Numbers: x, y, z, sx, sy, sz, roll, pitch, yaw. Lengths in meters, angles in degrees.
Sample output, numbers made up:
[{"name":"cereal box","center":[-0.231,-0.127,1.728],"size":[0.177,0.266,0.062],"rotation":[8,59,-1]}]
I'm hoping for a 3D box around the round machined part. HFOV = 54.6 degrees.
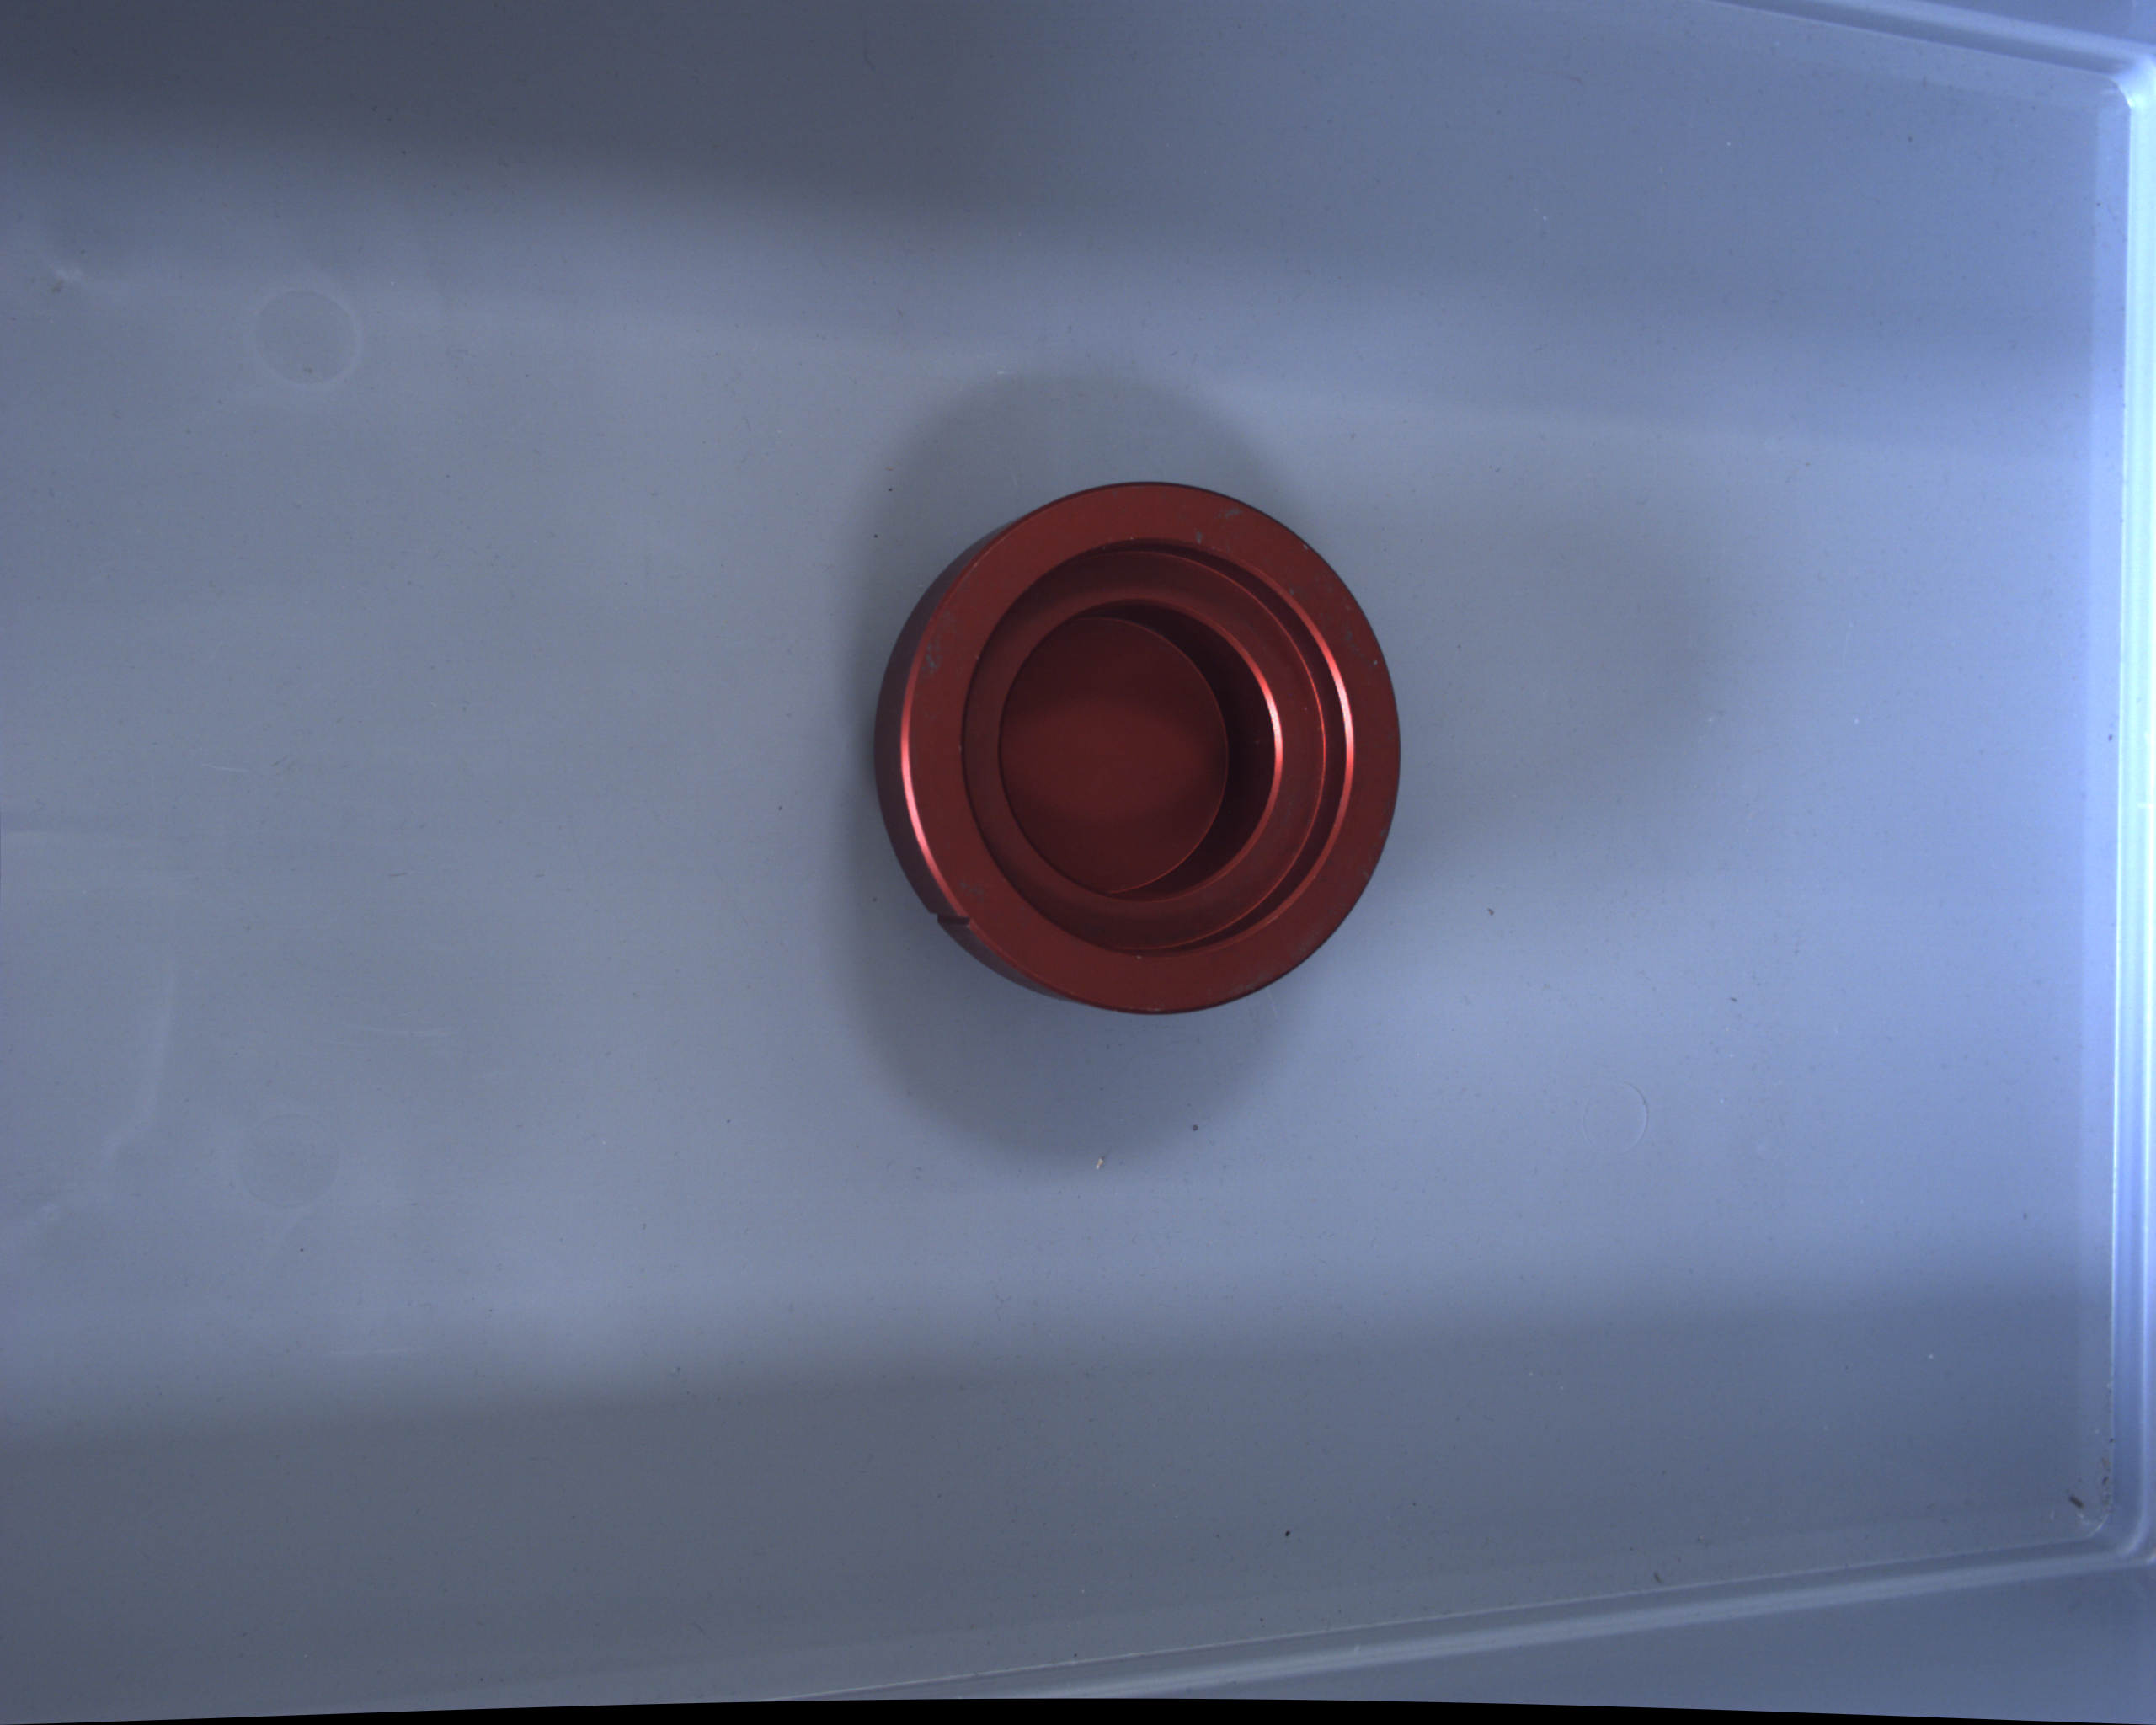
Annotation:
[{"name":"round machined part","center":[0.008,-0.021,0.401],"size":[0.099,0.042,0.097],"rotation":[0,90,-20]}]
